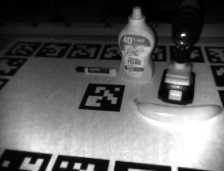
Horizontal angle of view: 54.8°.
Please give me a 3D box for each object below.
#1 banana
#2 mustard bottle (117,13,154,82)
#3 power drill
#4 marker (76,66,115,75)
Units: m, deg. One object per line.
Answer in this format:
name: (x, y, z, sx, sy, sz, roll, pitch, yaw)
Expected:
banana: (0.137, 0.068, 0.504, 0.196, 0.039, 0.074, 7, 45, 16)
mustard bottle: (0.063, -0.097, 0.577, 0.095, 0.193, 0.058, 11, 44, 17)
power drill: (0.154, -0.061, 0.503, 0.057, 0.188, 0.185, 14, 43, 19)
marker: (-0.053, -0.046, 0.660, 0.120, 0.020, 0.019, 4, 44, 10)
